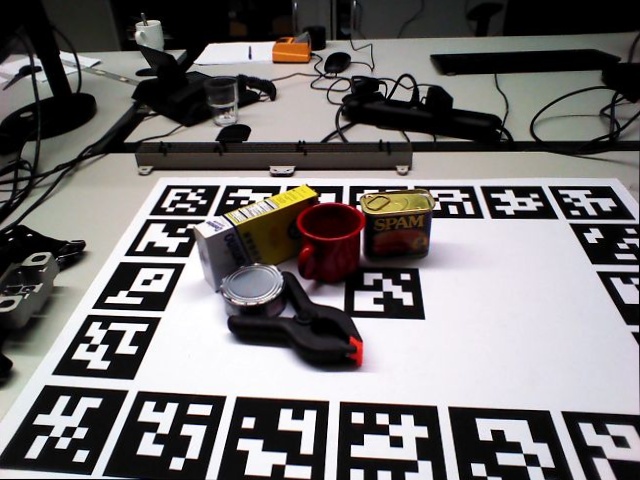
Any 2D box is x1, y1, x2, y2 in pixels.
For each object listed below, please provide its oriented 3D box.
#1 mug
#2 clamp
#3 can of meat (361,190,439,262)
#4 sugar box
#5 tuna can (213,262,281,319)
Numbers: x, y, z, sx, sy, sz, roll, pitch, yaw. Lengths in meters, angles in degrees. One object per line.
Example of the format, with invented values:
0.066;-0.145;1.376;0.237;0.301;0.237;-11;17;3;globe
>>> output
0.006;0.005;0.695;0.094;0.082;0.116;17;44;24;mug
-0.020;0.107;0.616;0.166;0.037;0.121;28;43;29;clamp
0.110;-0.019;0.730;0.102;0.084;0.057;-4;36;-2;can of meat
-0.086;-0.002;0.718;0.175;0.093;0.045;-23;40;-25;sugar box
-0.094;0.069;0.664;0.086;0.034;0.085;-3;39;2;tuna can
